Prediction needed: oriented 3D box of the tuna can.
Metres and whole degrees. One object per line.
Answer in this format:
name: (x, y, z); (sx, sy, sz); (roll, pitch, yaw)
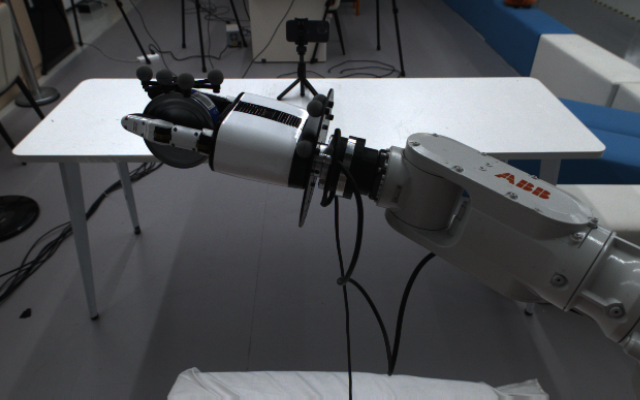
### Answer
tuna can: (-0.154, -0.080, 0.547); (0.085, 0.085, 0.034); (5, 22, 5)
